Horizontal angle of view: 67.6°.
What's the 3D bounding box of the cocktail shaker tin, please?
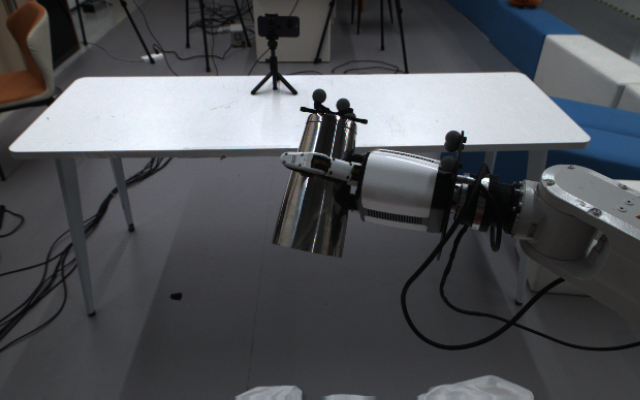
[{"bbox_3d":[0.001,-0.019,0.618,0.093,0.170,0.093,11,-5,1],"label":"cocktail shaker tin"}]
